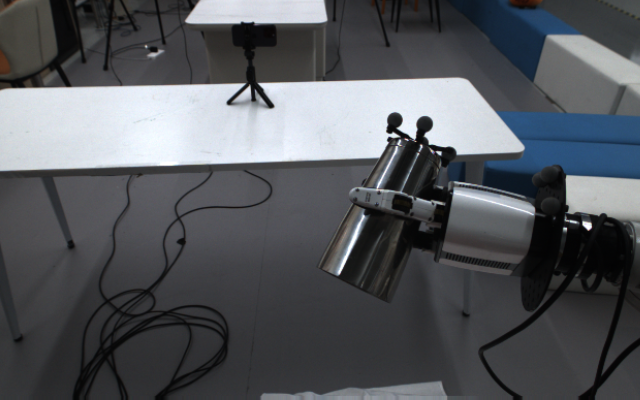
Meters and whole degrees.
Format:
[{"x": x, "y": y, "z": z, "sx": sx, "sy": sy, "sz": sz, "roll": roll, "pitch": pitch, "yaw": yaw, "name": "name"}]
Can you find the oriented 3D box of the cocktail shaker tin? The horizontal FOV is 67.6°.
[{"x": 0.076, "y": 0.016, "z": 0.548, "sx": 0.093, "sy": 0.093, "sz": 0.170, "roll": 21, "pitch": 81, "yaw": 25, "name": "cocktail shaker tin"}]
